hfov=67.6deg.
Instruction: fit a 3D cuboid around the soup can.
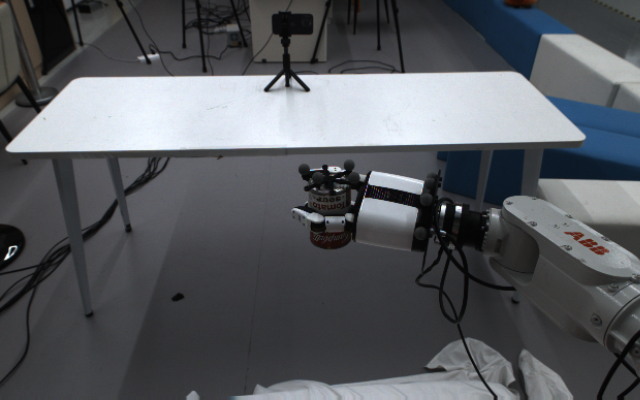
[{"bbox_3d":[0.016,0.016,0.749,0.067,0.101,0.067,-2,32,1],"label":"soup can"}]
